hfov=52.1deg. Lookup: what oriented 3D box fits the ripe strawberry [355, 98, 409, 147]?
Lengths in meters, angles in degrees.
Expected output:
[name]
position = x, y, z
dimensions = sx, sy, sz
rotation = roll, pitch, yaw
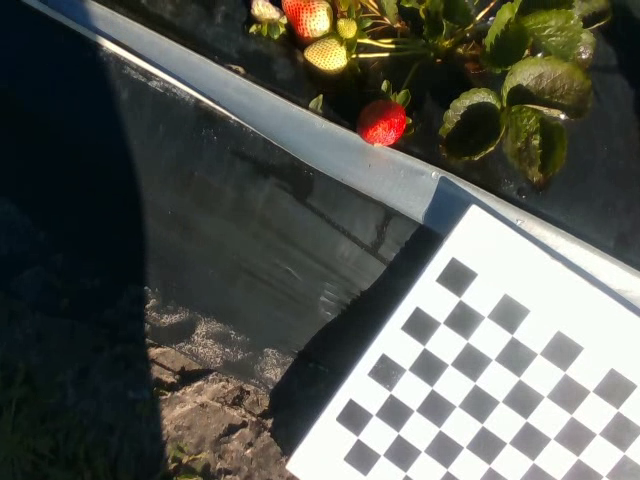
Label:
[ripe strawberry]
position = 0.036, -0.074, 0.416
dimensions = 0.036, 0.038, 0.045
rotation = 34, 26, 8
